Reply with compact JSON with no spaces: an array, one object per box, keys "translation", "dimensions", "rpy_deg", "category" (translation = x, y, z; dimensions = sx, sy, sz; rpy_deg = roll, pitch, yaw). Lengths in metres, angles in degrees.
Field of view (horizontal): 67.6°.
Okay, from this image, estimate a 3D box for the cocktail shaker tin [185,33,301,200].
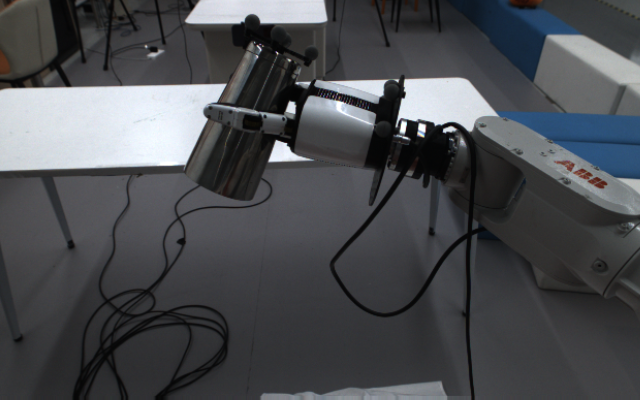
[{"translation":[-0.085,-0.096,0.578],"dimensions":[0.093,0.170,0.093],"rpy_deg":[24,12,-6],"category":"cocktail shaker tin"}]
